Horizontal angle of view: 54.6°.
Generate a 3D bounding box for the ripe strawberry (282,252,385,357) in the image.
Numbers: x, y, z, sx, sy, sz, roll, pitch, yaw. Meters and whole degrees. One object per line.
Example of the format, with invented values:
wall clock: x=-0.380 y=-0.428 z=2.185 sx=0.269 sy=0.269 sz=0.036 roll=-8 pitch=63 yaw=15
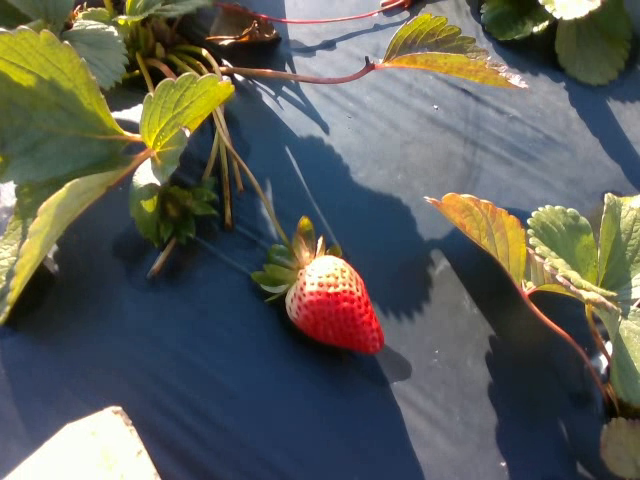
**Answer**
ripe strawberry: x=0.010 y=0.031 z=0.271 sx=0.063 sy=0.045 sz=0.043 roll=40 pitch=25 yaw=18
